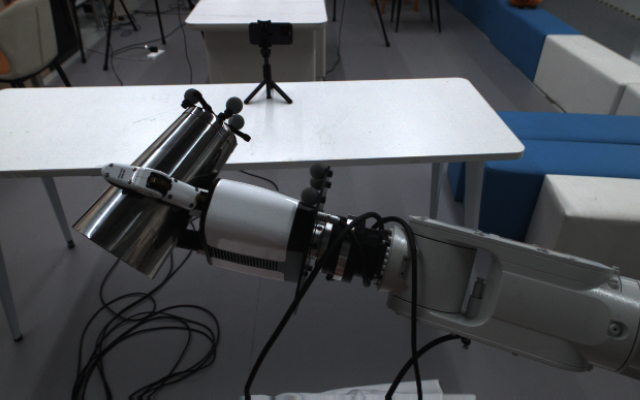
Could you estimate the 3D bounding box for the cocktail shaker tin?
[{"bbox_3d":[-0.161,-0.017,0.506,0.093,0.093,0.170,22,67,26],"label":"cocktail shaker tin"}]
